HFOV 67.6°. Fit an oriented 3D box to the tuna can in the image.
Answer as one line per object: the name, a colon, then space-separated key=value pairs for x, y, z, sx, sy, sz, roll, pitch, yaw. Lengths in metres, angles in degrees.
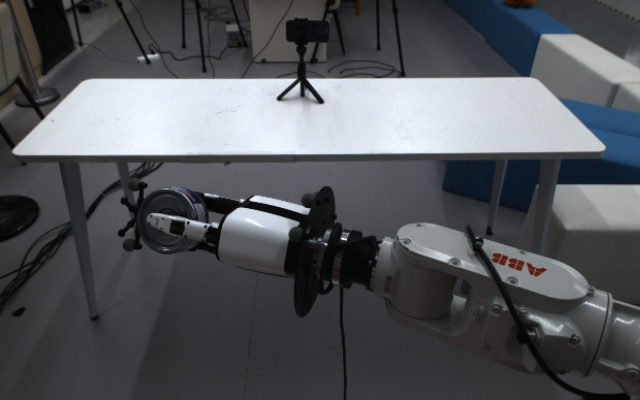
tuna can: x=-0.186 y=0.029 z=0.617 sx=0.085 sy=0.085 sz=0.034 roll=10 pitch=3 yaw=11
